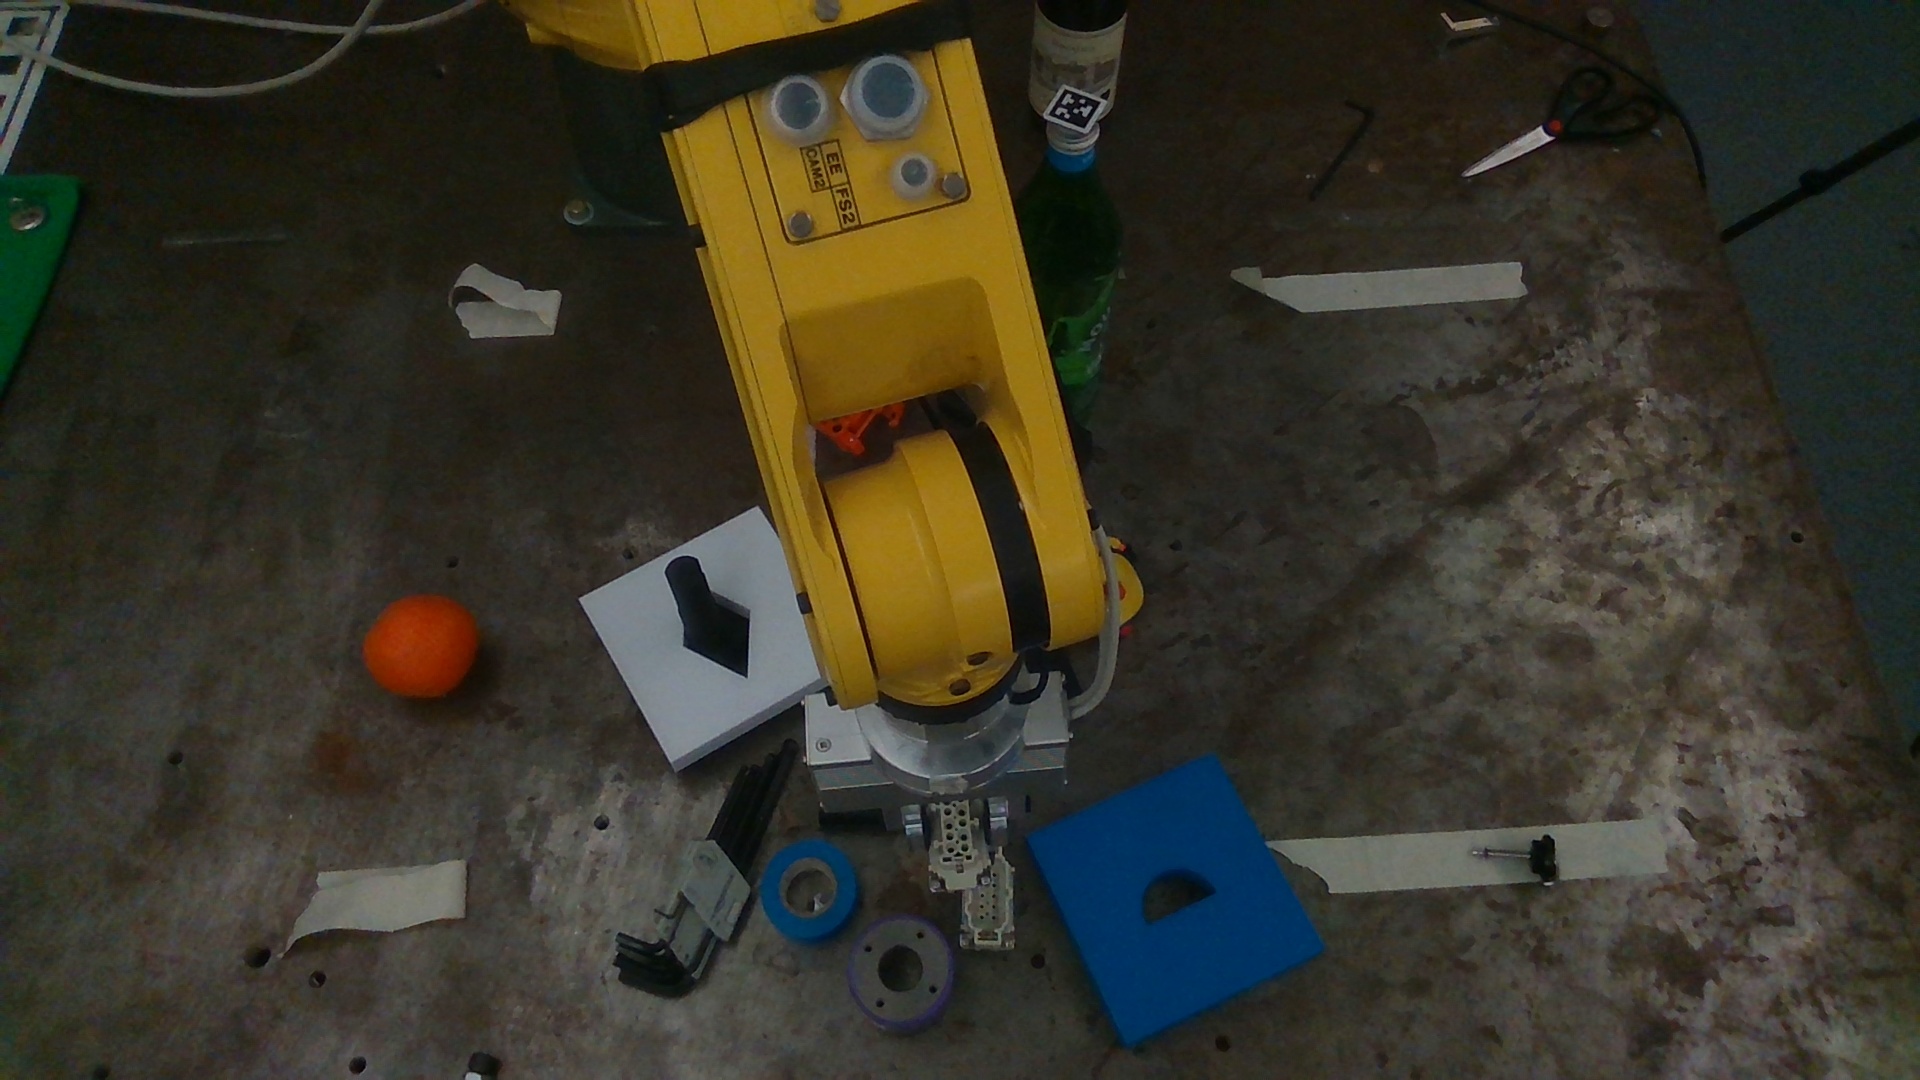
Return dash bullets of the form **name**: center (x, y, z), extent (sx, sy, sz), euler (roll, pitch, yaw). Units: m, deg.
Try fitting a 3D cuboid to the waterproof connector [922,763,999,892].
- **waterproof connector**: center (-0.001, 0.156, 0.757), extent (0.037, 0.038, 0.069), euler (-10, 60, 7)
